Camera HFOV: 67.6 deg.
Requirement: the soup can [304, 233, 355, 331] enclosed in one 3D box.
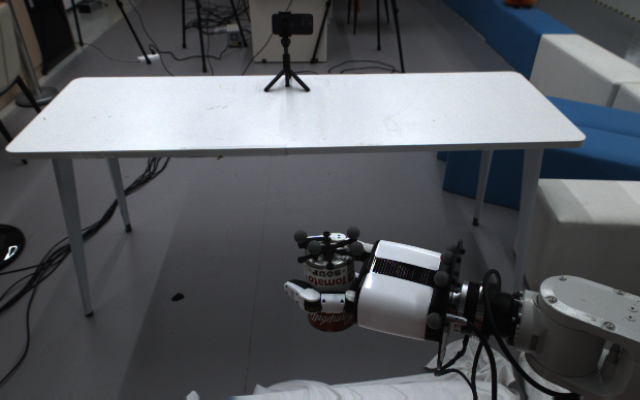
[{"bbox_3d":[0.015,0.113,0.638,0.067,0.101,0.067,-4,25,2],"label":"soup can"}]
